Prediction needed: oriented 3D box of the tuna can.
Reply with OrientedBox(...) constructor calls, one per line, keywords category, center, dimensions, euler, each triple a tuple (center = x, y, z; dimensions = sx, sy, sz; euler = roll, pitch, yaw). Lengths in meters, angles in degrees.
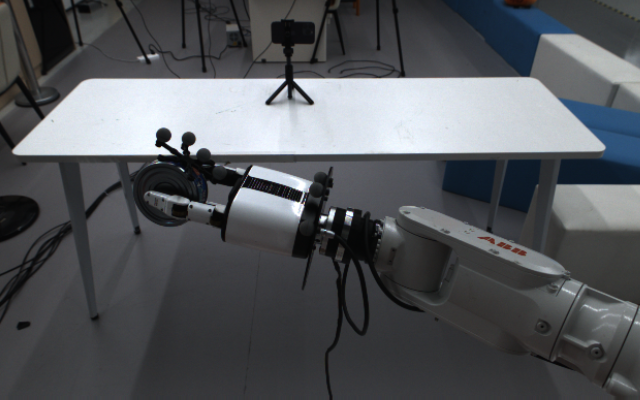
OrientedBox(category="tuna can", center=(-0.186, -0.010, 0.603), dimensions=(0.085, 0.085, 0.034), euler=(6, 19, 6))
